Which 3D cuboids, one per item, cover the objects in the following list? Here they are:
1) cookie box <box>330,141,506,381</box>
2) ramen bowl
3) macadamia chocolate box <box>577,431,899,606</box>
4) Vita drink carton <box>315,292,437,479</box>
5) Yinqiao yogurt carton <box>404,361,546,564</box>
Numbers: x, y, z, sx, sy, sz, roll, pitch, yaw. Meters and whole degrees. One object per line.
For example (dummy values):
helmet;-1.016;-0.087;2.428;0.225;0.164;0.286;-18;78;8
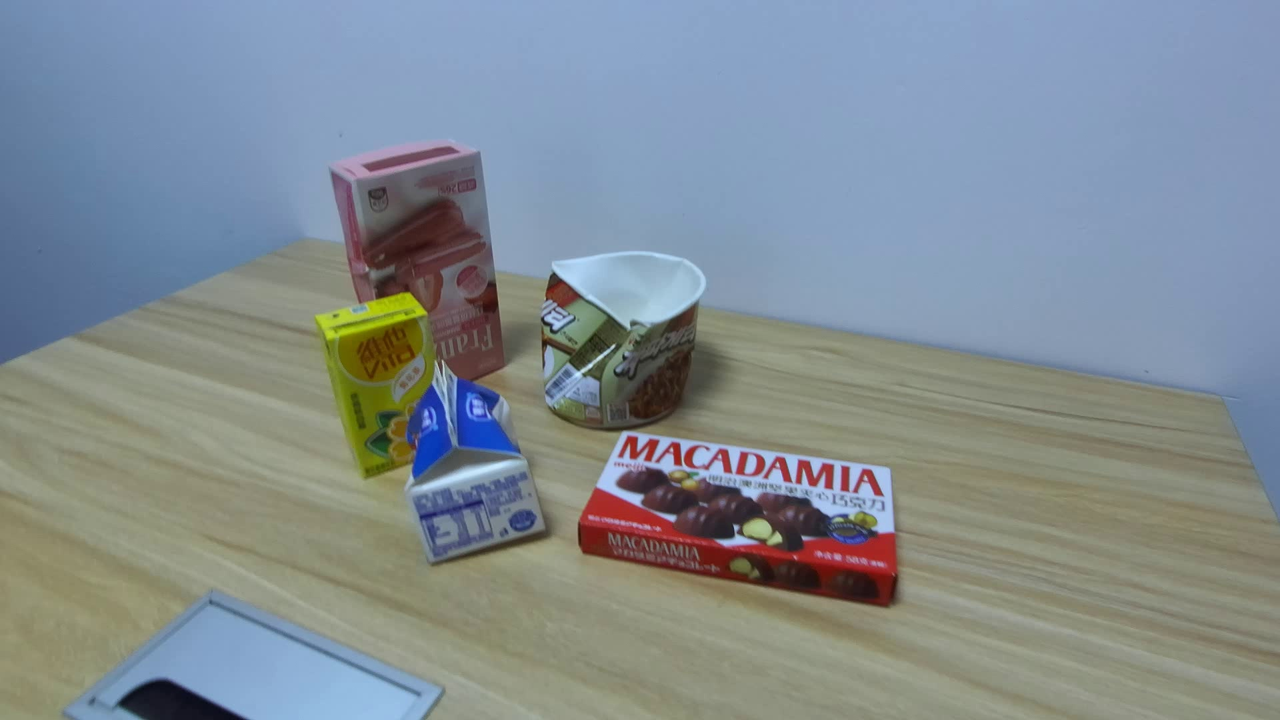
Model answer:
cookie box;-0.168;-0.064;0.543;0.105;0.188;0.048;-26;39;-36
ramen bowl;-0.011;-0.017;0.543;0.137;0.098;0.137;1;33;0
macadamia chocolate box;0.061;0.090;0.428;0.177;0.027;0.095;7;30;14
Vita drink carton;-0.174;0.017;0.484;0.067;0.109;0.043;-20;36;-30
Yinqiao yogurt carton;-0.104;0.056;0.427;0.071;0.094;0.077;-14;31;-10
